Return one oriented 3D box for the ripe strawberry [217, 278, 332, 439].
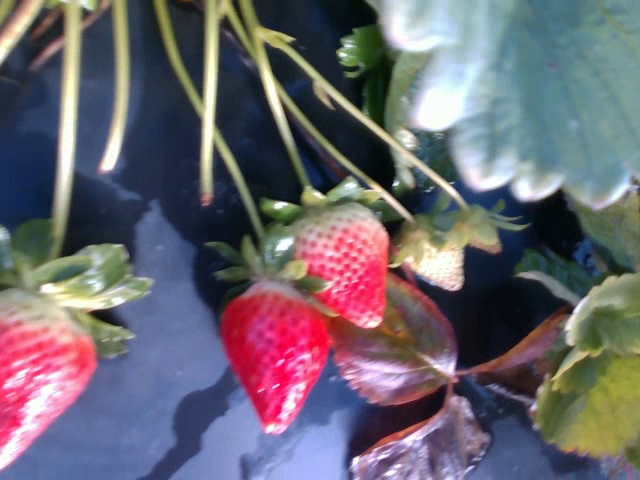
[{"bbox_3d":[-0.019,0.044,0.203,0.044,0.055,0.041,-8,-25,22],"label":"ripe strawberry"}]
